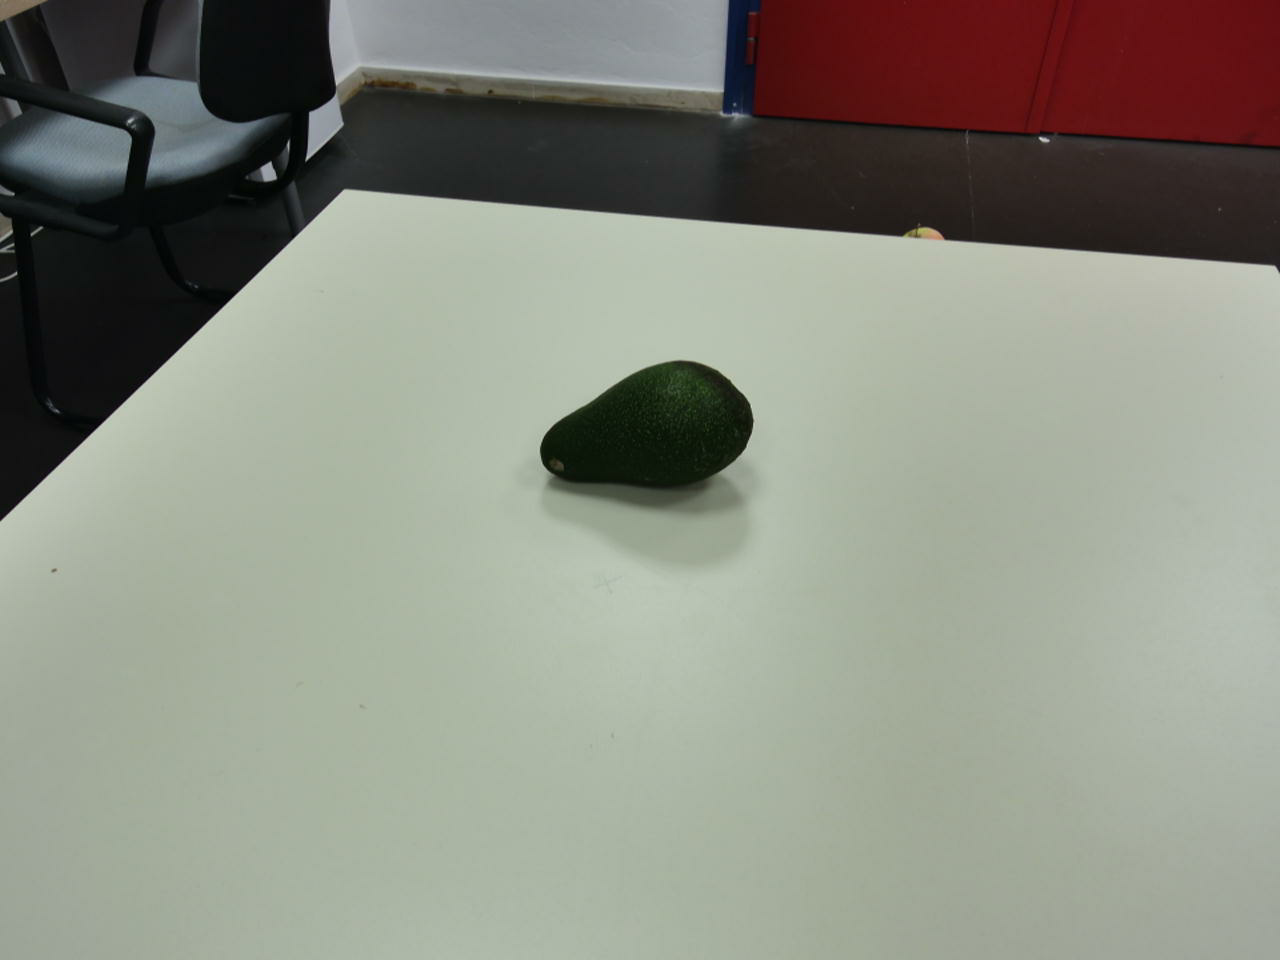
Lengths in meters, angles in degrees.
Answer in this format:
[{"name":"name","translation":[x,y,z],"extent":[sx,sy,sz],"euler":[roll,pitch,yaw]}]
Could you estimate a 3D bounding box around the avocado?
[{"name":"avocado","translation":[0.006,-0.036,0.588],"extent":[0.123,0.076,0.074],"euler":[12,41,15]}]
